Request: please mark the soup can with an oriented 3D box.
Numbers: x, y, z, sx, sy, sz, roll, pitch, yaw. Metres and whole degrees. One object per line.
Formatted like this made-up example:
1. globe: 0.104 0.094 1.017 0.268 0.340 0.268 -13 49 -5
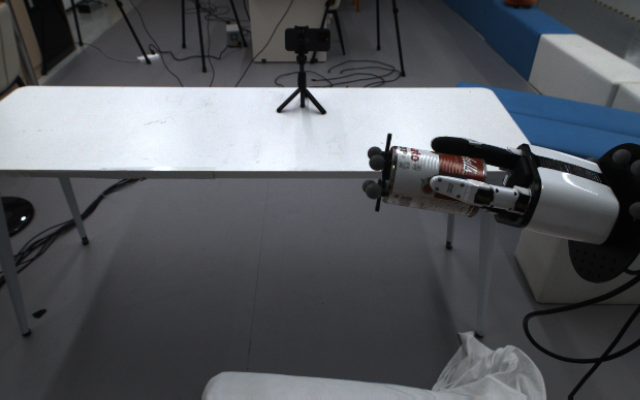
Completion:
1. soup can: 0.129 -0.023 0.549 0.101 0.067 0.067 9 35 1
